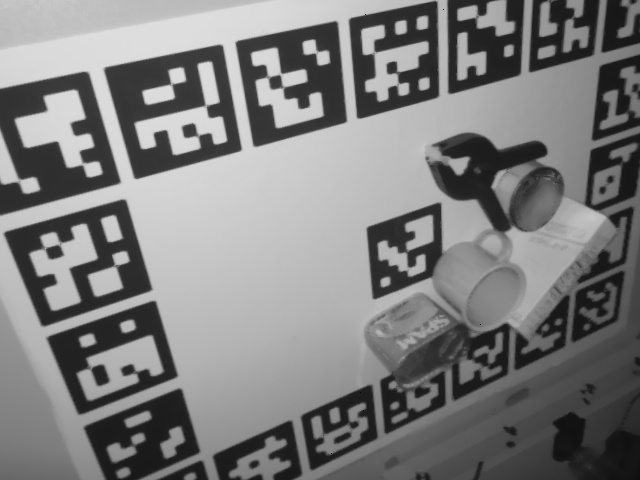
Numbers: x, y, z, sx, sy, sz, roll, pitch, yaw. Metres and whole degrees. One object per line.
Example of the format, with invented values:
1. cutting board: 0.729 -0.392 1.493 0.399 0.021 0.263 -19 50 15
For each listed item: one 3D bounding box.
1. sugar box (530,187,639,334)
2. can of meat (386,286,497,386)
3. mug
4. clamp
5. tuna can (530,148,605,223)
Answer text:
1. sugar box: 0.310 0.020 0.841 0.045 0.092 0.176 37 95 -35
2. can of meat: 0.137 0.107 0.802 0.103 0.083 0.057 -25 123 -12
3. mug: 0.225 0.036 0.803 0.094 0.081 0.116 7 108 -27
4. clamp: 0.211 -0.092 0.775 0.167 0.036 0.121 18 108 -27
5. tuna can: 0.292 -0.066 0.821 0.087 0.033 0.085 -10 115 -22
